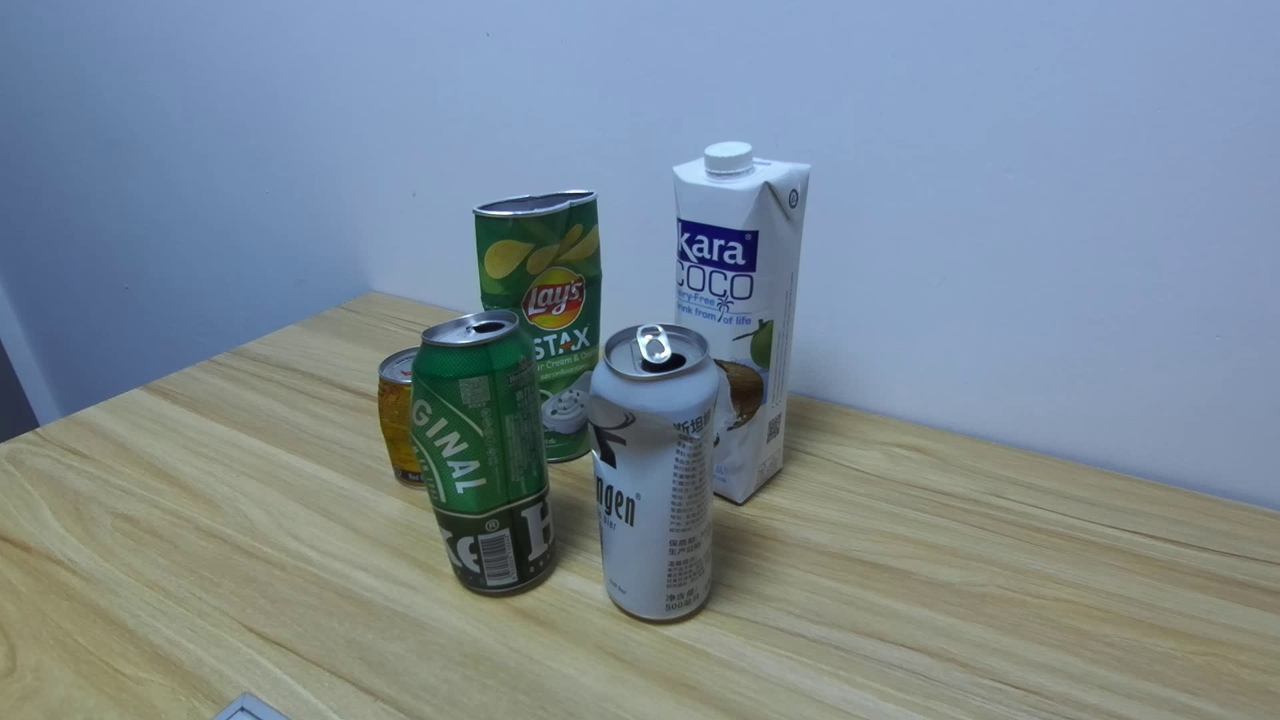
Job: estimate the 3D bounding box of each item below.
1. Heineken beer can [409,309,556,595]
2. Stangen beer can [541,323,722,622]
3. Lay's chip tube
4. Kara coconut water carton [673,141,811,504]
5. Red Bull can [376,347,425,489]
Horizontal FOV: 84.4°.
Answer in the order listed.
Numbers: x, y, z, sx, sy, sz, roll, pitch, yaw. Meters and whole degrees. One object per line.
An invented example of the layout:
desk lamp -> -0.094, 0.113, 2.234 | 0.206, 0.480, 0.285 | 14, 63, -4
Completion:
Heineken beer can -> -0.090, 0.058, 0.425 | 0.068, 0.168, 0.069 | -2, 23, 4
Stangen beer can -> 0.008, 0.066, 0.397 | 0.070, 0.173, 0.070 | -4, 28, -4
Lay's chip tube -> -0.071, -0.023, 0.541 | 0.069, 0.199, 0.075 | 9, 30, 18
Kara coconut water carton -> 0.065, -0.024, 0.488 | 0.076, 0.245, 0.075 | 18, 32, 35
Red Bull can -> -0.166, 0.046, 0.556 | 0.072, 0.092, 0.072 | -1, 23, 1
